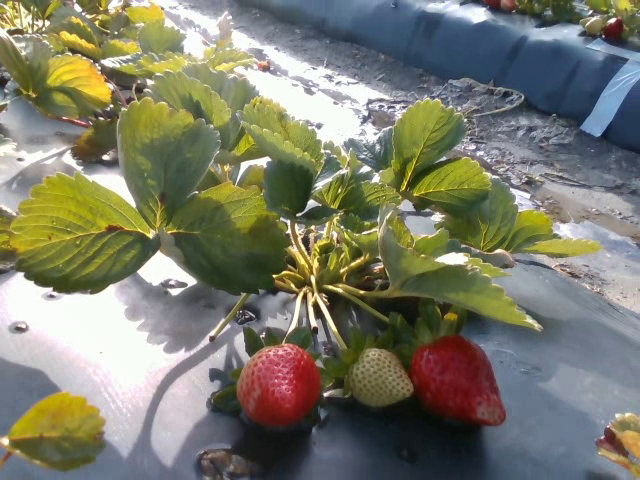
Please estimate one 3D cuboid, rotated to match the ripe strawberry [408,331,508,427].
[{"bbox_3d":[0.073,0.075,0.315,0.050,0.048,0.065,50,4,-44],"label":"ripe strawberry"}]
